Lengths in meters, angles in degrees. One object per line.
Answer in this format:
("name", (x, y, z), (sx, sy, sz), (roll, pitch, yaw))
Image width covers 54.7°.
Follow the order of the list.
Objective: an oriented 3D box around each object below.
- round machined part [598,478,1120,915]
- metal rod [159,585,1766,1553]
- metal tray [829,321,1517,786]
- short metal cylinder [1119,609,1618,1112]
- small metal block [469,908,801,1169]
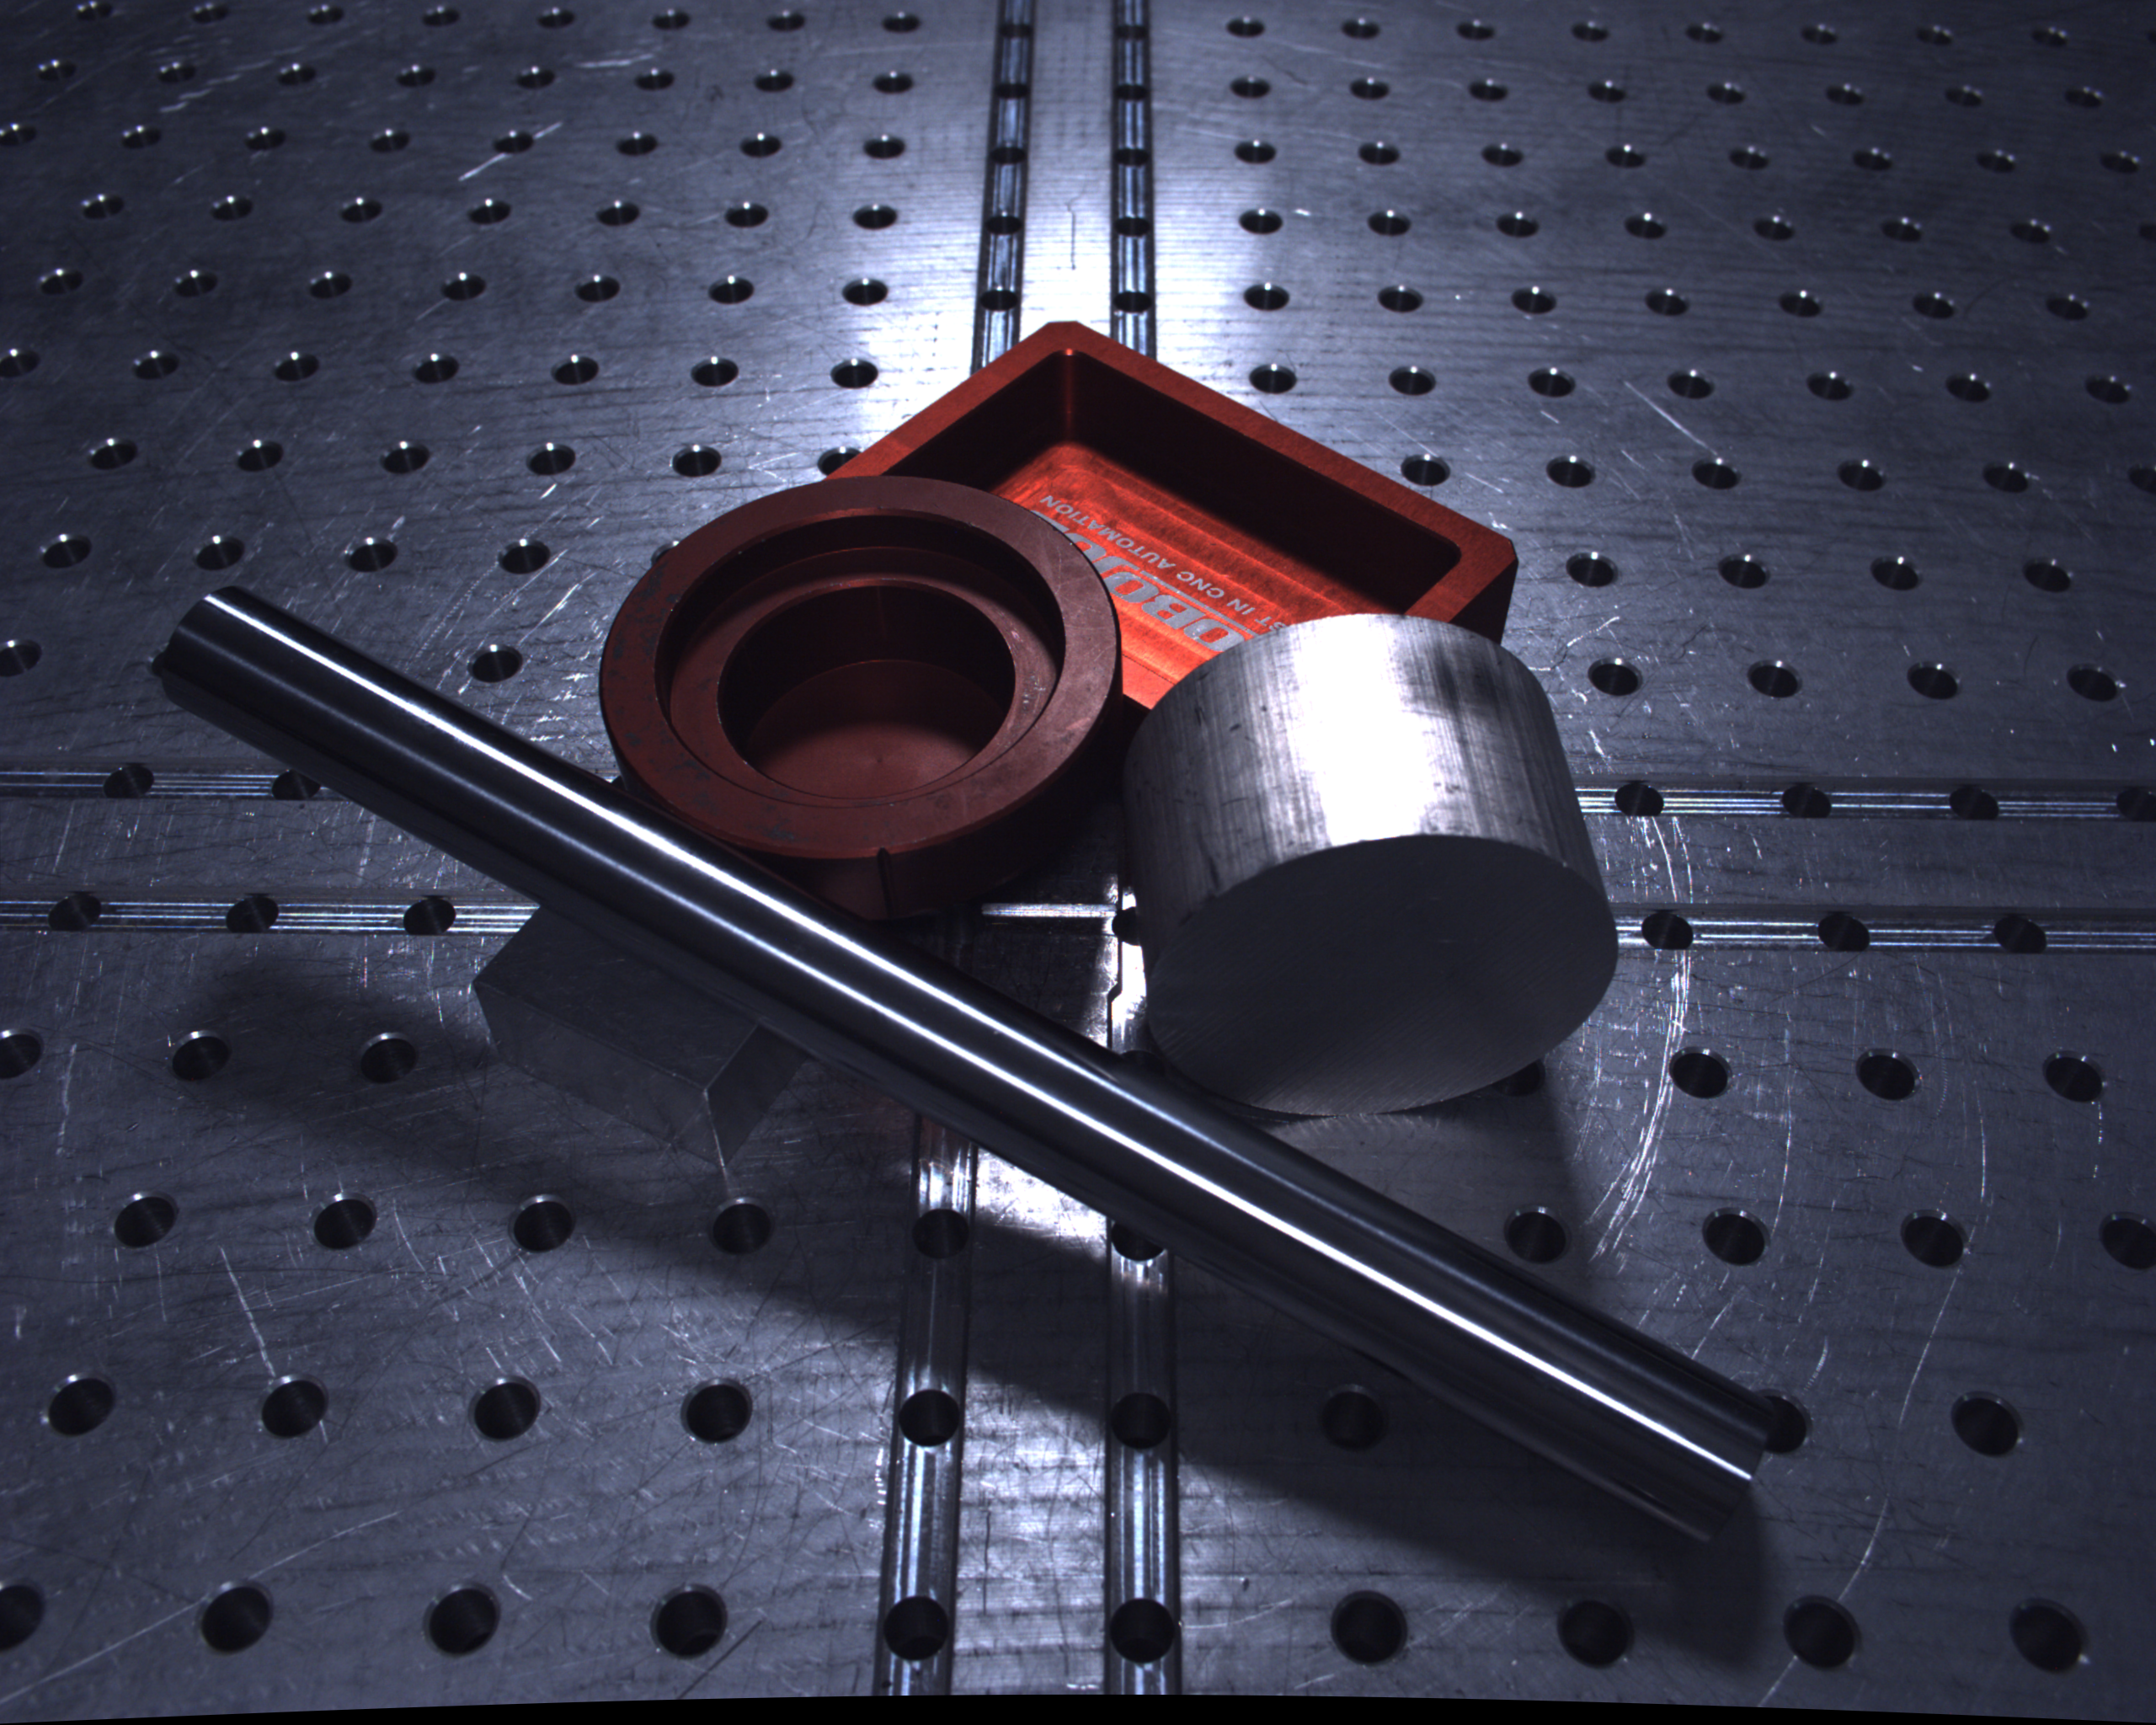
("round machined part", (-0.041, -0.028, 0.409), (0.099, 0.042, 0.098), (-1, 50, 1))
("metal rod", (-0.028, 0.029, 0.356), (0.301, 0.025, 0.025), (28, 55, 10))
("metal tray", (0.017, -0.063, 0.457), (0.130, 0.030, 0.090), (32, 56, 24))
("short metal cylinder", (0.049, 0.001, 0.370), (0.081, 0.080, 0.050), (-3, 50, -3))
("small metal block", (-0.075, 0.022, 0.389), (0.050, 0.025, 0.050), (22, 53, 17))
